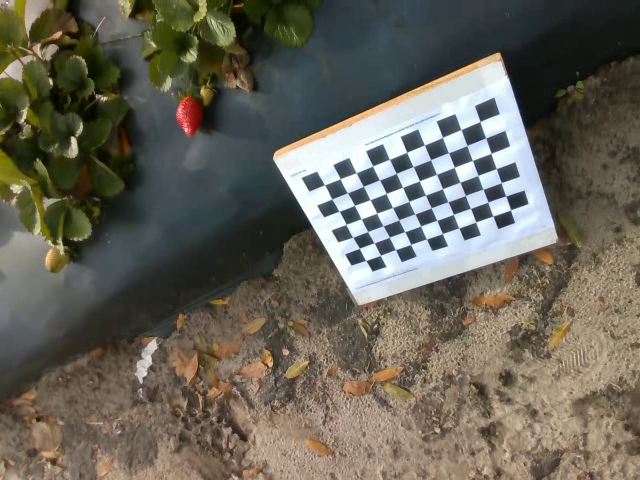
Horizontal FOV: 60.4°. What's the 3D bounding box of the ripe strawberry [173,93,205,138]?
[{"bbox_3d":[-0.177,-0.162,0.732,0.045,0.058,0.050,-17,-16,16],"label":"ripe strawberry"}]
